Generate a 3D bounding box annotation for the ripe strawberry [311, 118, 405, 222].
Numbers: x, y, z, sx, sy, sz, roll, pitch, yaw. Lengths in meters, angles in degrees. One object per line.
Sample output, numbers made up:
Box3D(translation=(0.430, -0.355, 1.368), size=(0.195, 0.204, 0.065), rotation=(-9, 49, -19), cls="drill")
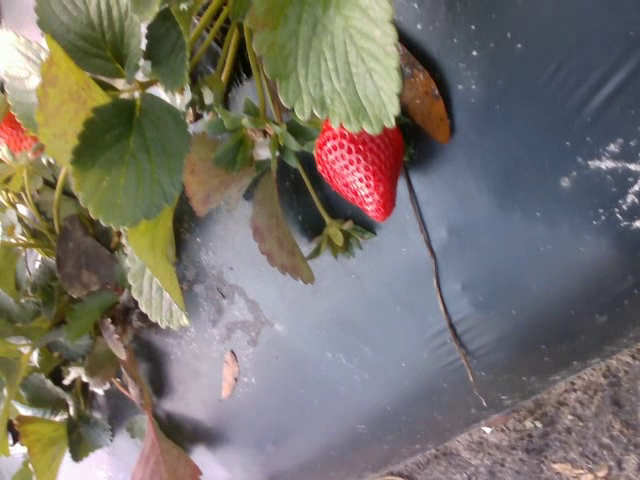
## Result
Box3D(translation=(0.020, -0.030, 0.272), size=(0.049, 0.053, 0.050), rotation=(7, -37, -35), cls="ripe strawberry")
